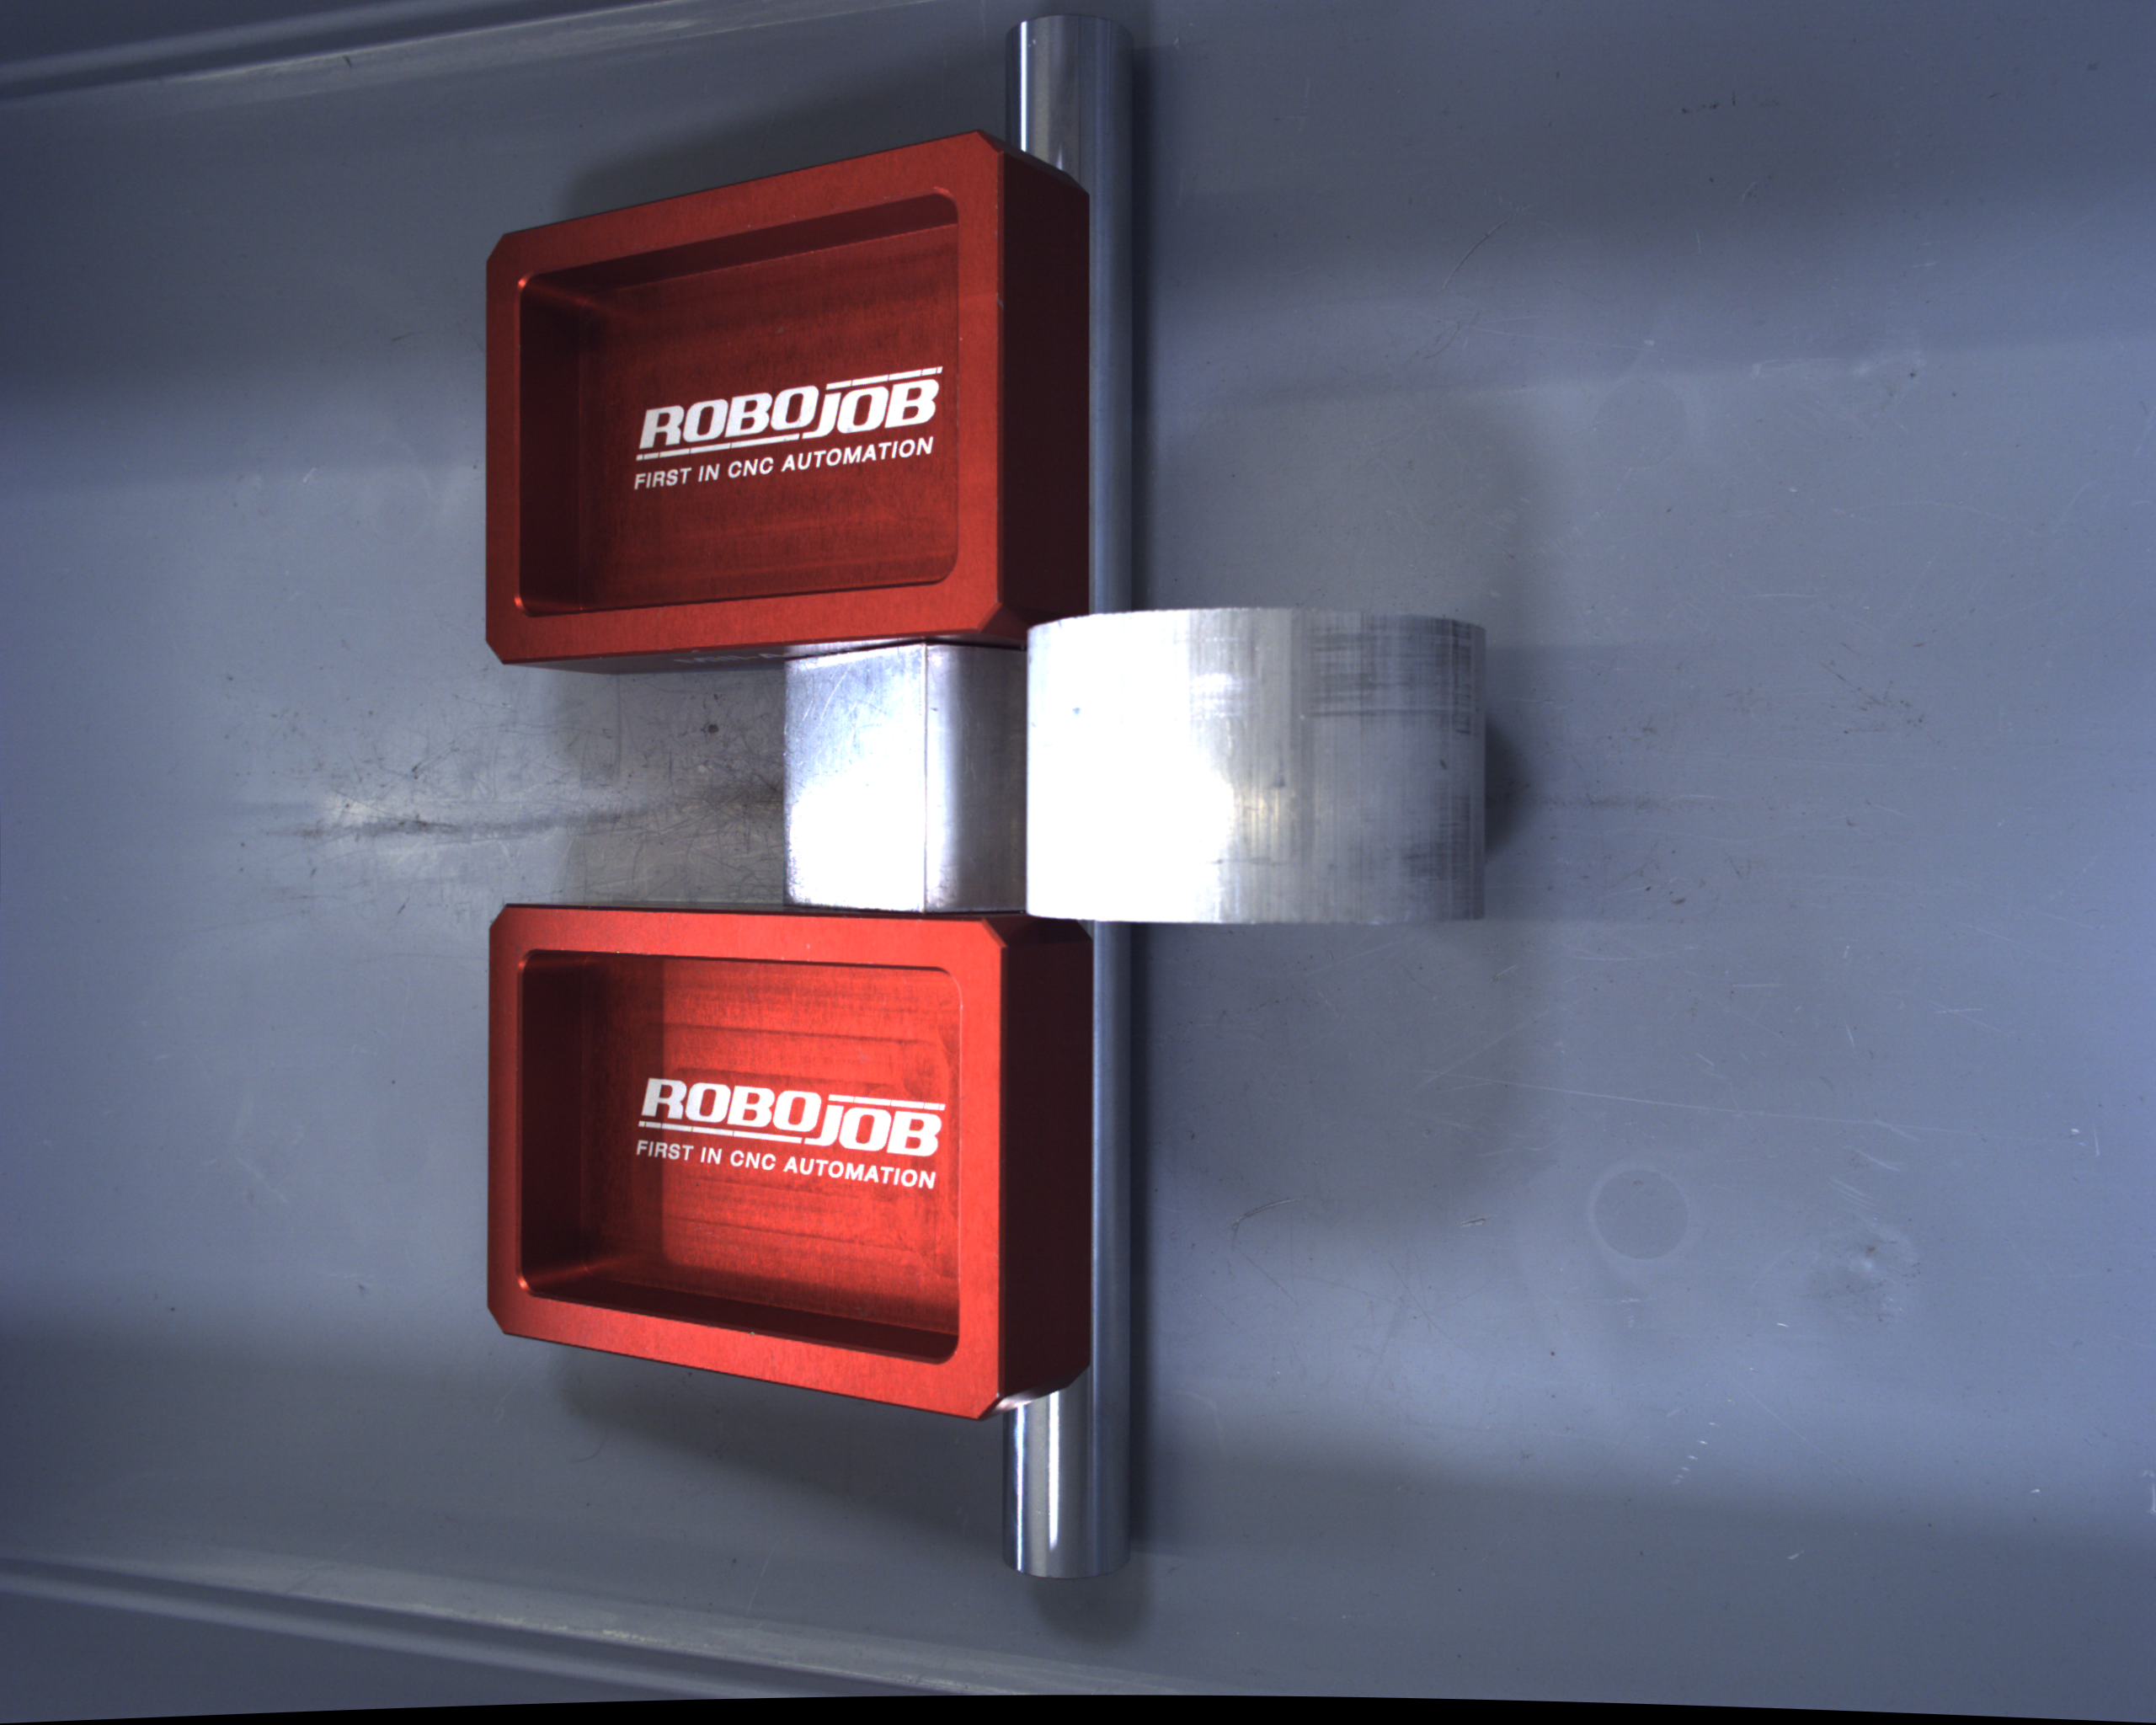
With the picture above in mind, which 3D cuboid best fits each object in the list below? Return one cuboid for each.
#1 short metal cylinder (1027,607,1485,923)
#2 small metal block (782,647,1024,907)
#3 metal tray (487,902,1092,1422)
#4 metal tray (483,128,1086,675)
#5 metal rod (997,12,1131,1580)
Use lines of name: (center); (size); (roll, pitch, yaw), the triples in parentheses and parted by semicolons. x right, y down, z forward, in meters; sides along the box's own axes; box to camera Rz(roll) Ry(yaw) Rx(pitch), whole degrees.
short metal cylinder: (0.031, -0.016, 0.369); (0.080, 0.080, 0.050); (0, 90, 20)
small metal block: (-0.034, -0.016, 0.409); (0.050, 0.025, 0.050); (1, 91, 51)
metal tray: (-0.060, 0.054, 0.412); (0.130, 0.030, 0.089); (1, 90, 32)
metal tray: (-0.061, -0.085, 0.413); (0.130, 0.030, 0.089); (0, 90, 32)
metal rod: (-0.003, -0.013, 0.409); (0.025, 0.025, 0.298); (0, 90, 20)
